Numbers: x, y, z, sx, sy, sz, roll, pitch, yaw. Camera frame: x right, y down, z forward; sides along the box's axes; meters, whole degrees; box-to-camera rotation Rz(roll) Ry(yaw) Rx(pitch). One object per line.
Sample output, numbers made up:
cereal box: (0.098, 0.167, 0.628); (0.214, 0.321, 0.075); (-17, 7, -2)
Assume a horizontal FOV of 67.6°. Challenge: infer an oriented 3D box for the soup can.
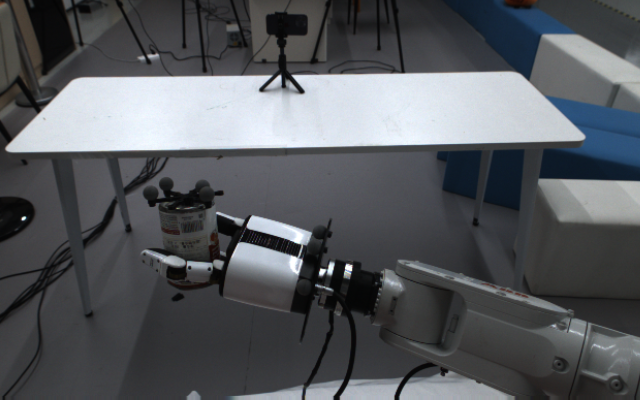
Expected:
soup can: (-0.157, 0.051, 0.593); (0.067, 0.101, 0.067); (-1, 16, 0)
